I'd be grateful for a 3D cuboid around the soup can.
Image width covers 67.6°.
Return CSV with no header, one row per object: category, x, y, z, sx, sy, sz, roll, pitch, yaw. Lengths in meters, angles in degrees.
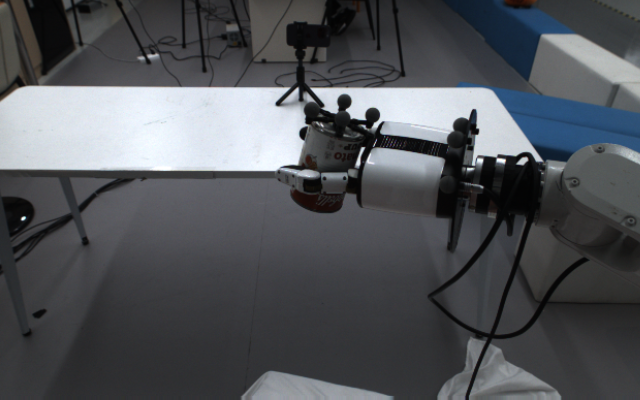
soup can,0.010,-0.043,0.577,0.067,0.101,0.067,13,30,-8
